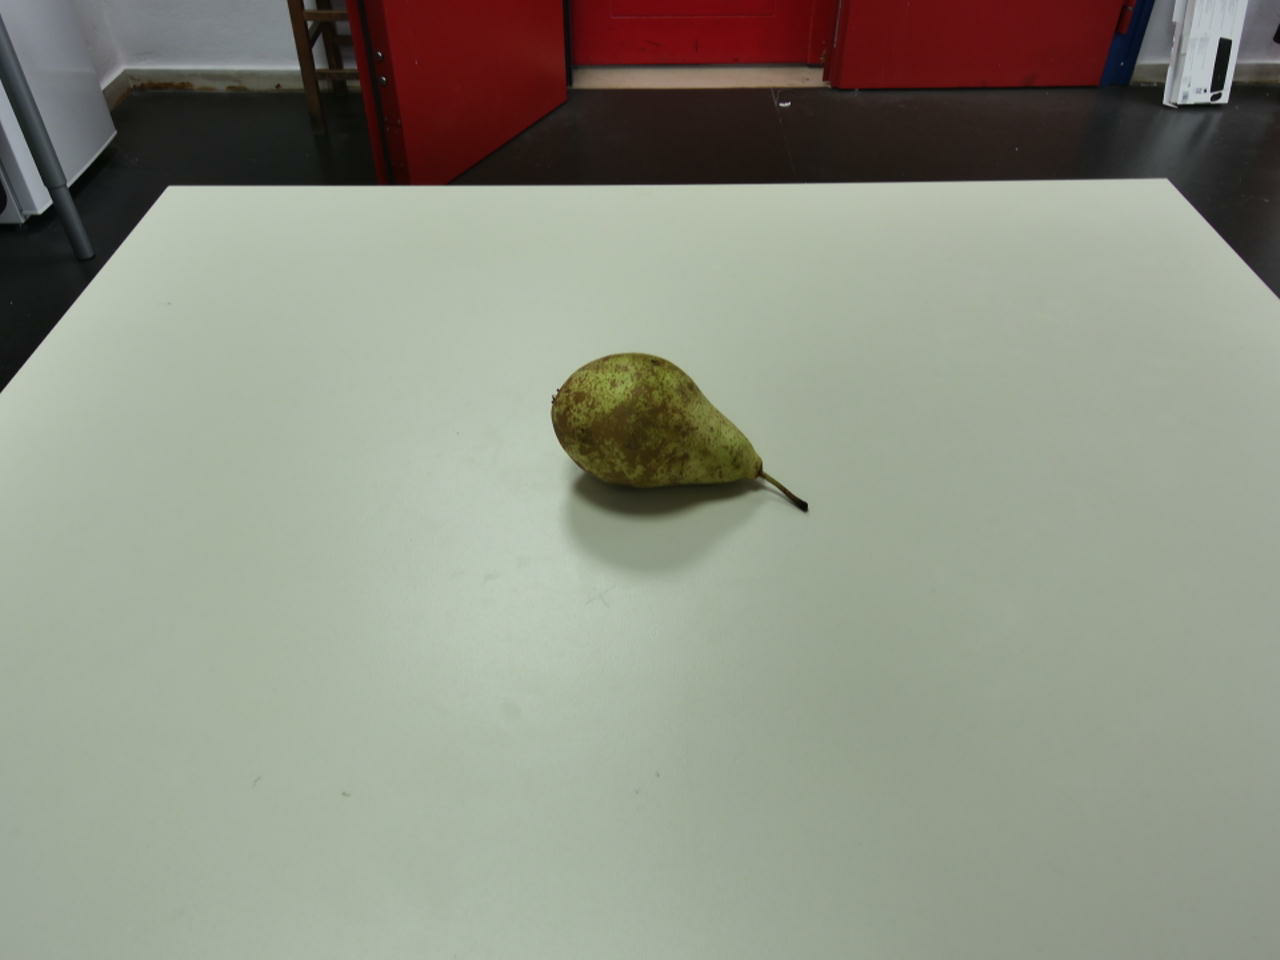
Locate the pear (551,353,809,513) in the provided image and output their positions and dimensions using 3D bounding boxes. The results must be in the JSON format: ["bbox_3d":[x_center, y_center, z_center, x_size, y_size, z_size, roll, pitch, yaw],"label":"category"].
[{"bbox_3d":[0.018,-0.031,0.521,0.128,0.075,0.071,-5,39,-6],"label":"pear"}]
